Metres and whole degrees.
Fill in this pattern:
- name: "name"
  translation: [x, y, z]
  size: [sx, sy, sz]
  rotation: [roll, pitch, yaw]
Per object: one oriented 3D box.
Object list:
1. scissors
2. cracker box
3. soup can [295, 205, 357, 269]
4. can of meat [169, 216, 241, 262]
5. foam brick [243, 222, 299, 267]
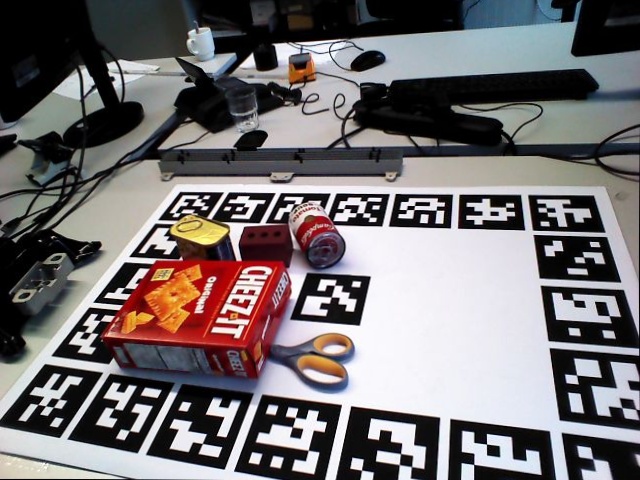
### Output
- name: "scissors"
  translation: [-0.052, 0.148, 0.670]
  size: [0.204, 0.016, 0.087]
  rotation: [-3, 40, 13]
- name: "cracker box"
  translation: [-0.161, 0.101, 0.709]
  size: [0.215, 0.072, 0.163]
  rotation: [-6, 38, 15]
- name: "soup can"
  translation: [0.007, -0.007, 0.834]
  size: [0.068, 0.068, 0.102]
  rotation: [-23, 35, -13]
- name: "can of meat"
  translation: [-0.180, 0.015, 0.830]
  size: [0.102, 0.084, 0.057]
  rotation: [11, 45, 26]
- name: "foam brick"
  translation: [-0.078, 0.010, 0.838]
  size: [0.078, 0.051, 0.052]
  rotation: [-6, 40, 8]
